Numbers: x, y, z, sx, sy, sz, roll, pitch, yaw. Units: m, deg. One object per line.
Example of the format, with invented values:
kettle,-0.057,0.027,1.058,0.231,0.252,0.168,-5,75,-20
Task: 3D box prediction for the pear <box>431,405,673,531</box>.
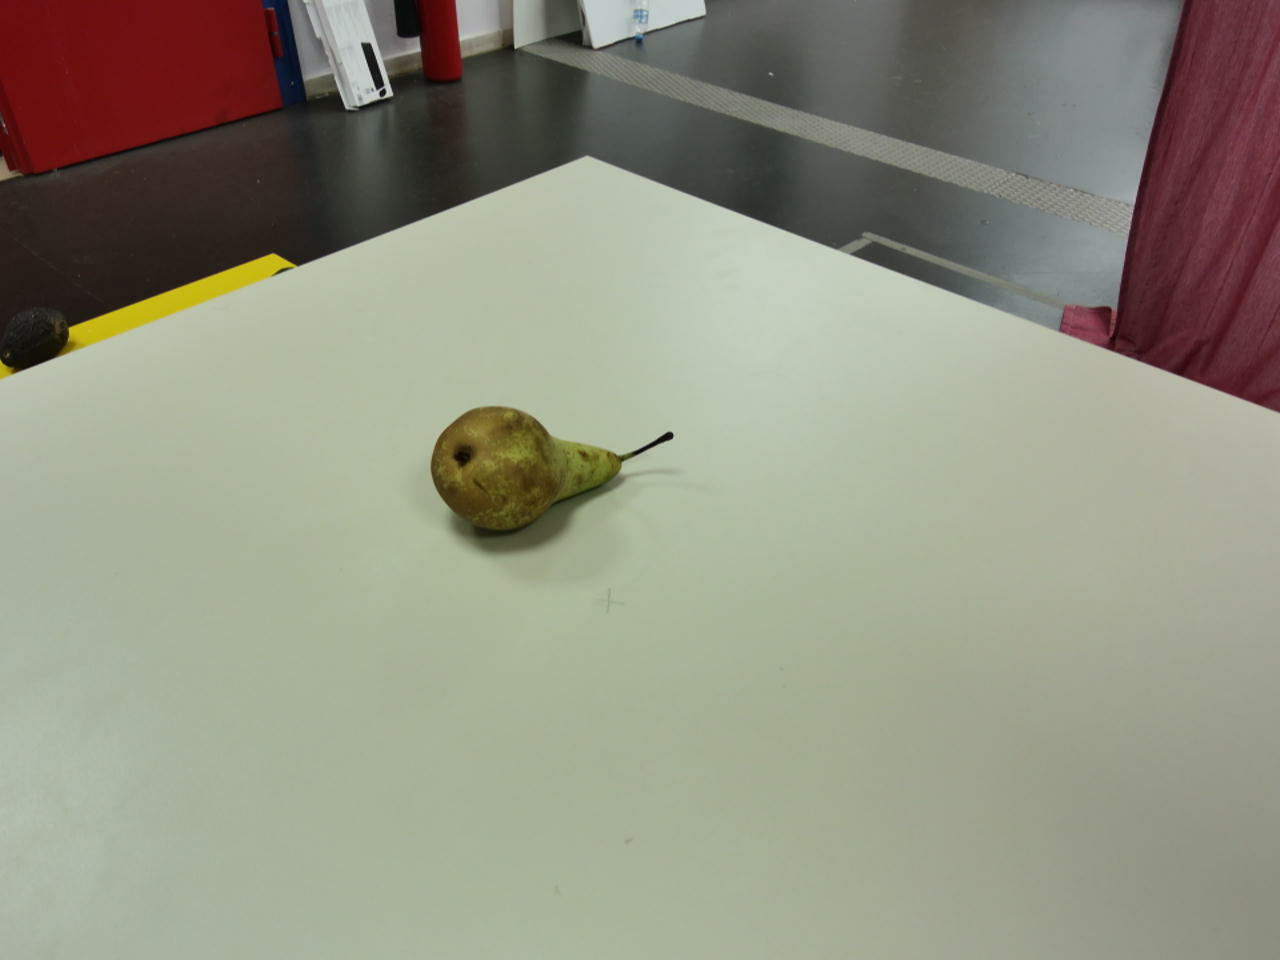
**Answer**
pear,-0.056,-0.020,0.590,0.144,0.075,0.071,-29,46,-32
